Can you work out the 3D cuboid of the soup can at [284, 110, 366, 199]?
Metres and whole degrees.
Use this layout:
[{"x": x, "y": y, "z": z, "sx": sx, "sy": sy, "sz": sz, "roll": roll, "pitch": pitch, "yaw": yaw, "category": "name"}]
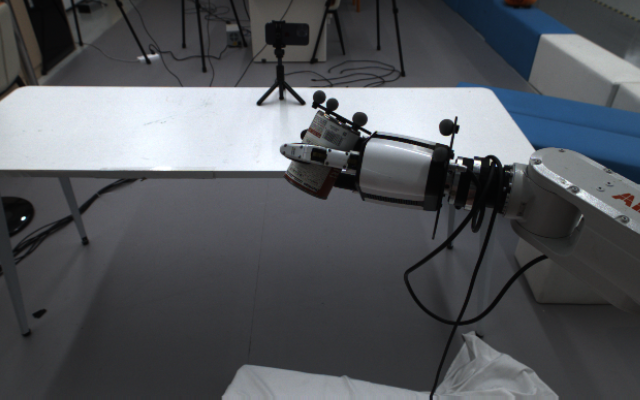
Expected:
[{"x": 0.004, "y": -0.061, "z": 0.655, "sx": 0.067, "sy": 0.101, "sz": 0.067, "roll": 27, "pitch": 10, "yaw": -5, "category": "soup can"}]
